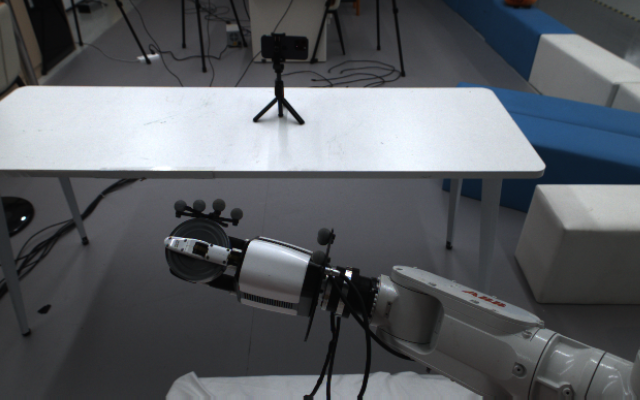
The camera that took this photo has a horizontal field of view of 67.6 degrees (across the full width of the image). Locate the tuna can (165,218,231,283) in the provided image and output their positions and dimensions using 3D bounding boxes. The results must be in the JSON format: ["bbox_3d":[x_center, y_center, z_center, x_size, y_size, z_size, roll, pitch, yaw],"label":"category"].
[{"bbox_3d":[-0.163,0.069,0.659,0.085,0.034,0.085,1,72,-2],"label":"tuna can"}]
